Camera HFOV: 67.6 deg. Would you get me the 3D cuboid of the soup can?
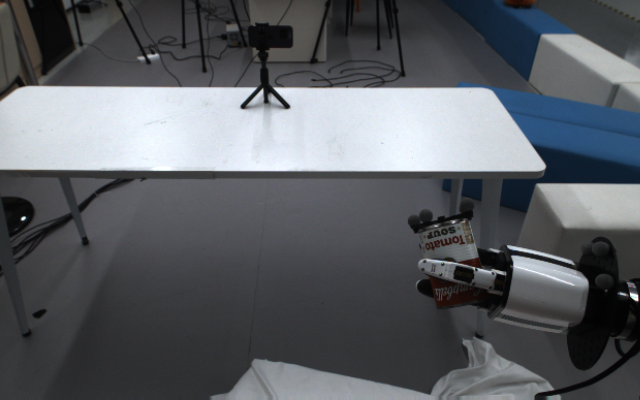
[{"bbox_3d":[0.172,0.078,0.613,0.067,0.067,0.101,-11,80,-19],"label":"soup can"}]
